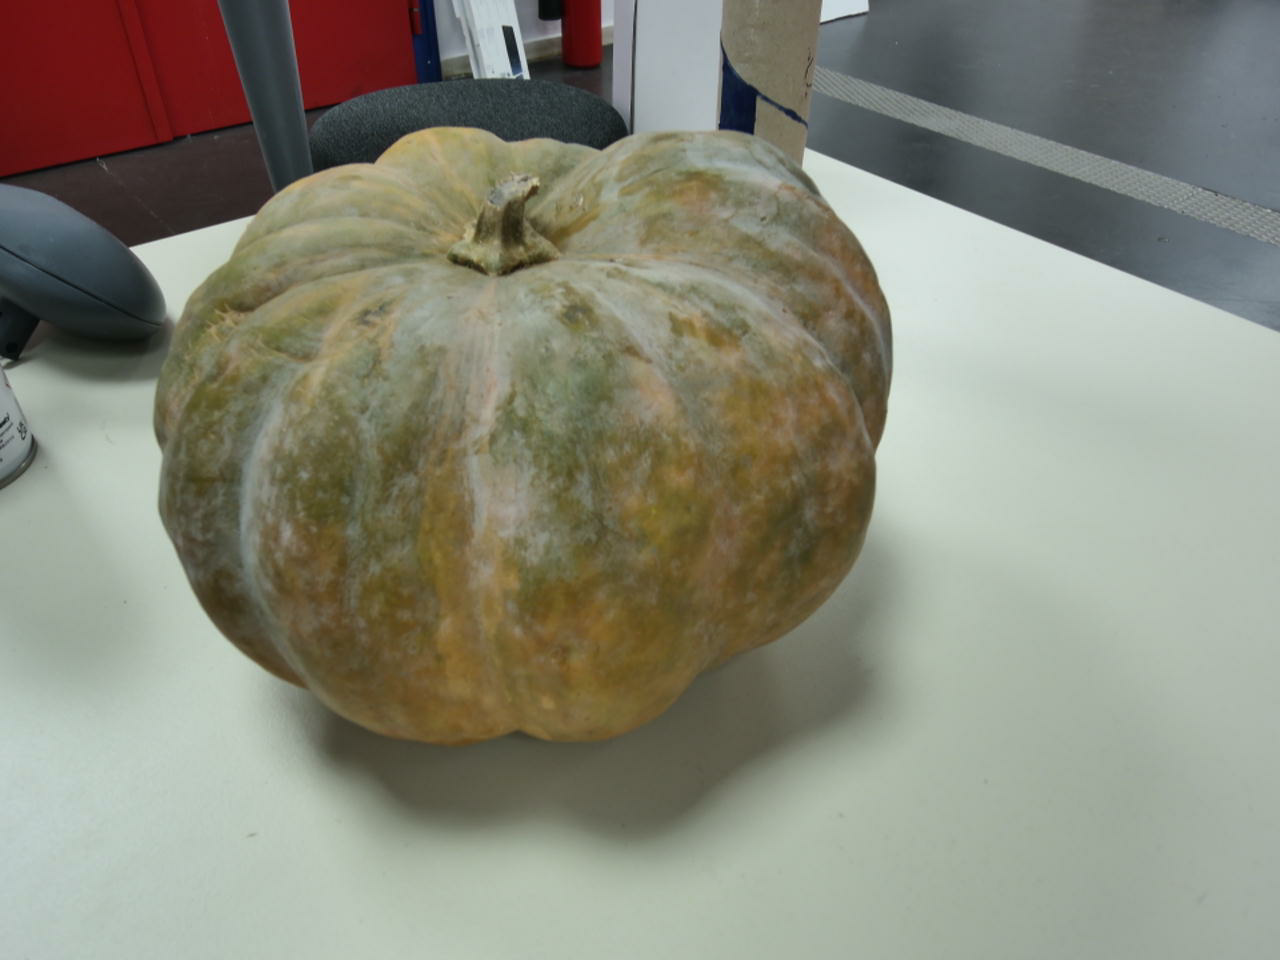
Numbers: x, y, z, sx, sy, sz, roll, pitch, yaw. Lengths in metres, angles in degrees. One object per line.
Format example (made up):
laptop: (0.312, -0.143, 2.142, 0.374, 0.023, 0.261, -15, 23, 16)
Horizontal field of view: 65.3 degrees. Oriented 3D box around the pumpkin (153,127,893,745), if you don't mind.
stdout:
pumpkin: (-0.039, -0.024, 0.348, 0.252, 0.169, 0.251, 0, 37, 0)
